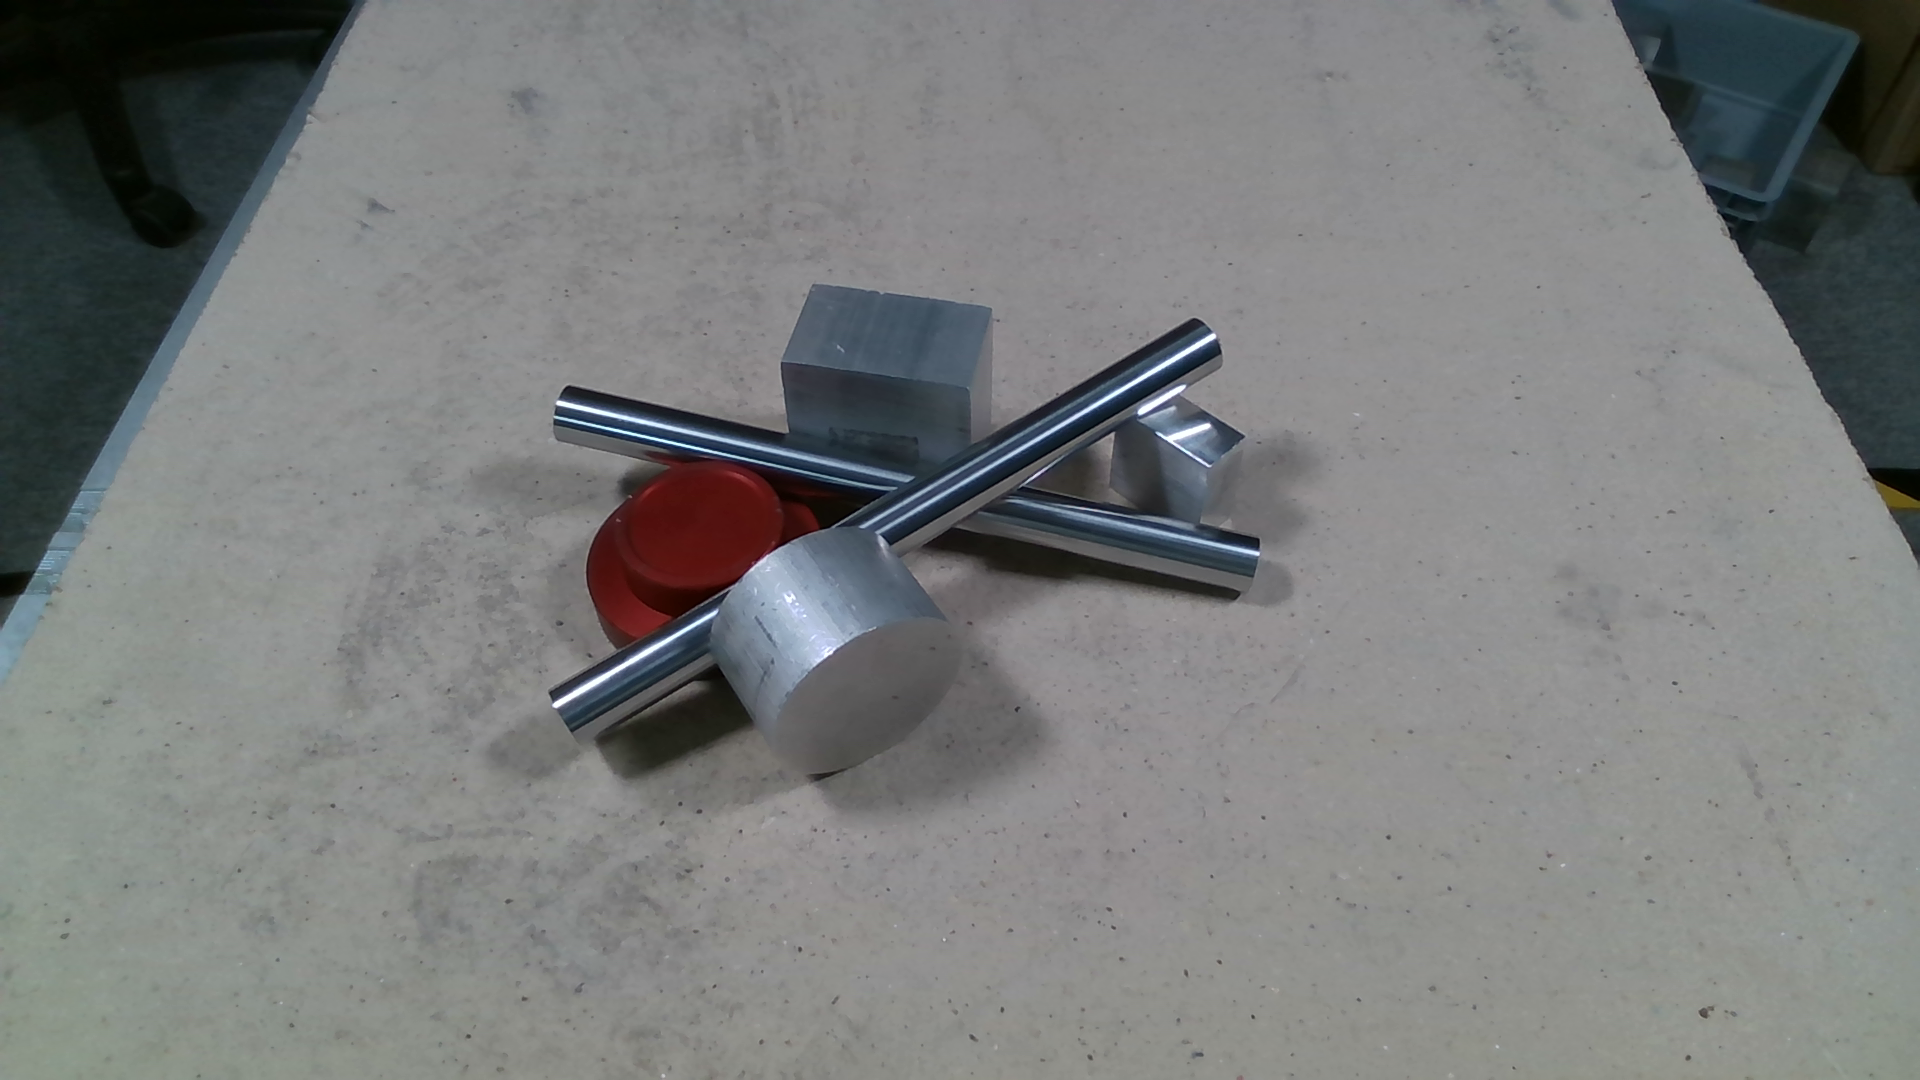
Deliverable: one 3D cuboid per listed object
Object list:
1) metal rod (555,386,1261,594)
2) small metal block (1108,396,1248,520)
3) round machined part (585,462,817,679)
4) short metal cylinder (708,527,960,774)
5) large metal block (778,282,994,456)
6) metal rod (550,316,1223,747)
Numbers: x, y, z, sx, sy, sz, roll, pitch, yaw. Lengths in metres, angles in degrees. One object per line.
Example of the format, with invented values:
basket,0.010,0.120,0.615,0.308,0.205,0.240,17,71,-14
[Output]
metal rod,-0.023,-0.022,0.586,0.300,0.025,0.025,13,51,3
small metal block,0.094,-0.034,0.599,0.050,0.050,0.025,37,59,27
round machined part,-0.106,0.006,0.572,0.098,0.042,0.098,0,50,0
short metal cylinder,-0.047,0.042,0.517,0.080,0.080,0.050,-26,55,-20
large metal block,-0.030,-0.061,0.602,0.080,0.080,0.050,9,51,7
metal rod,-0.022,-0.008,0.549,0.300,0.025,0.025,-31,56,-13
